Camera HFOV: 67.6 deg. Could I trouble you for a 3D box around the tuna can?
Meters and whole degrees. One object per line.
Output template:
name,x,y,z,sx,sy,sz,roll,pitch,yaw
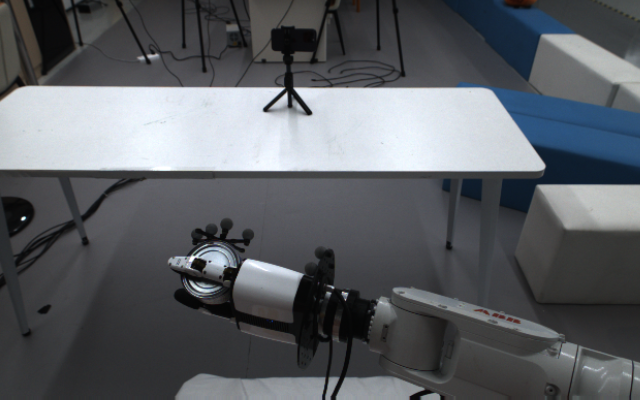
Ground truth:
tuna can,-0.148,0.102,0.675,0.085,0.034,0.085,-6,60,10
